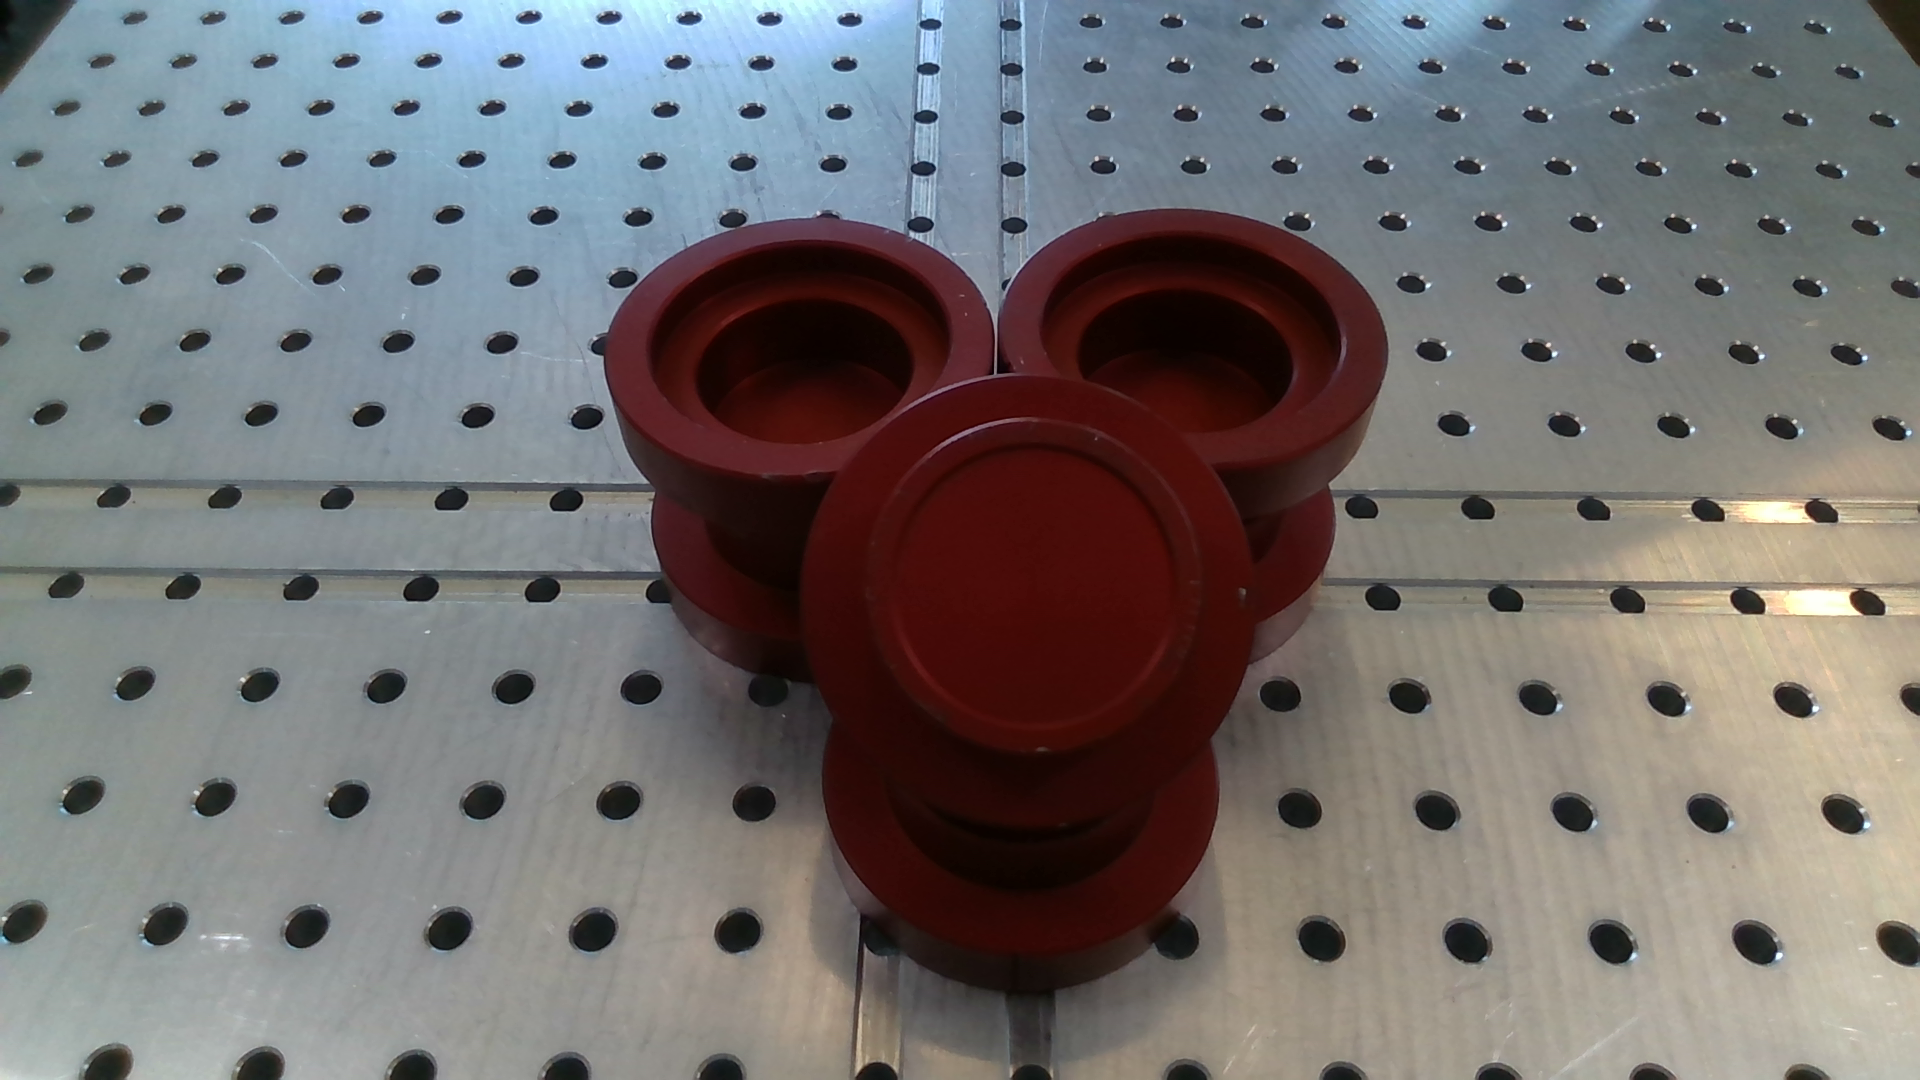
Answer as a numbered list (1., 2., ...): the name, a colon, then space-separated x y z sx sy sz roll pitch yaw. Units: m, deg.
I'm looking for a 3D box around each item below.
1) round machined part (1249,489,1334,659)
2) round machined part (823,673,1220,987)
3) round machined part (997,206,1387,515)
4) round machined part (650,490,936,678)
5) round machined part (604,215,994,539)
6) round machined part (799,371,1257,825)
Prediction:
1. round machined part: 0.059 -0.013 0.397 0.098 0.042 0.098 0 50 0
2. round machined part: 0.015 0.055 0.340 0.098 0.042 0.098 0 50 0
3. round machined part: 0.058 -0.042 0.365 0.098 0.042 0.098 0 50 0
4. round machined part: -0.040 -0.012 0.396 0.098 0.042 0.098 0 50 0
5. round machined part: -0.040 -0.039 0.363 0.098 0.042 0.098 0 50 0
6. round machined part: 0.015 0.011 0.294 0.098 0.042 0.098 0 82 -1
